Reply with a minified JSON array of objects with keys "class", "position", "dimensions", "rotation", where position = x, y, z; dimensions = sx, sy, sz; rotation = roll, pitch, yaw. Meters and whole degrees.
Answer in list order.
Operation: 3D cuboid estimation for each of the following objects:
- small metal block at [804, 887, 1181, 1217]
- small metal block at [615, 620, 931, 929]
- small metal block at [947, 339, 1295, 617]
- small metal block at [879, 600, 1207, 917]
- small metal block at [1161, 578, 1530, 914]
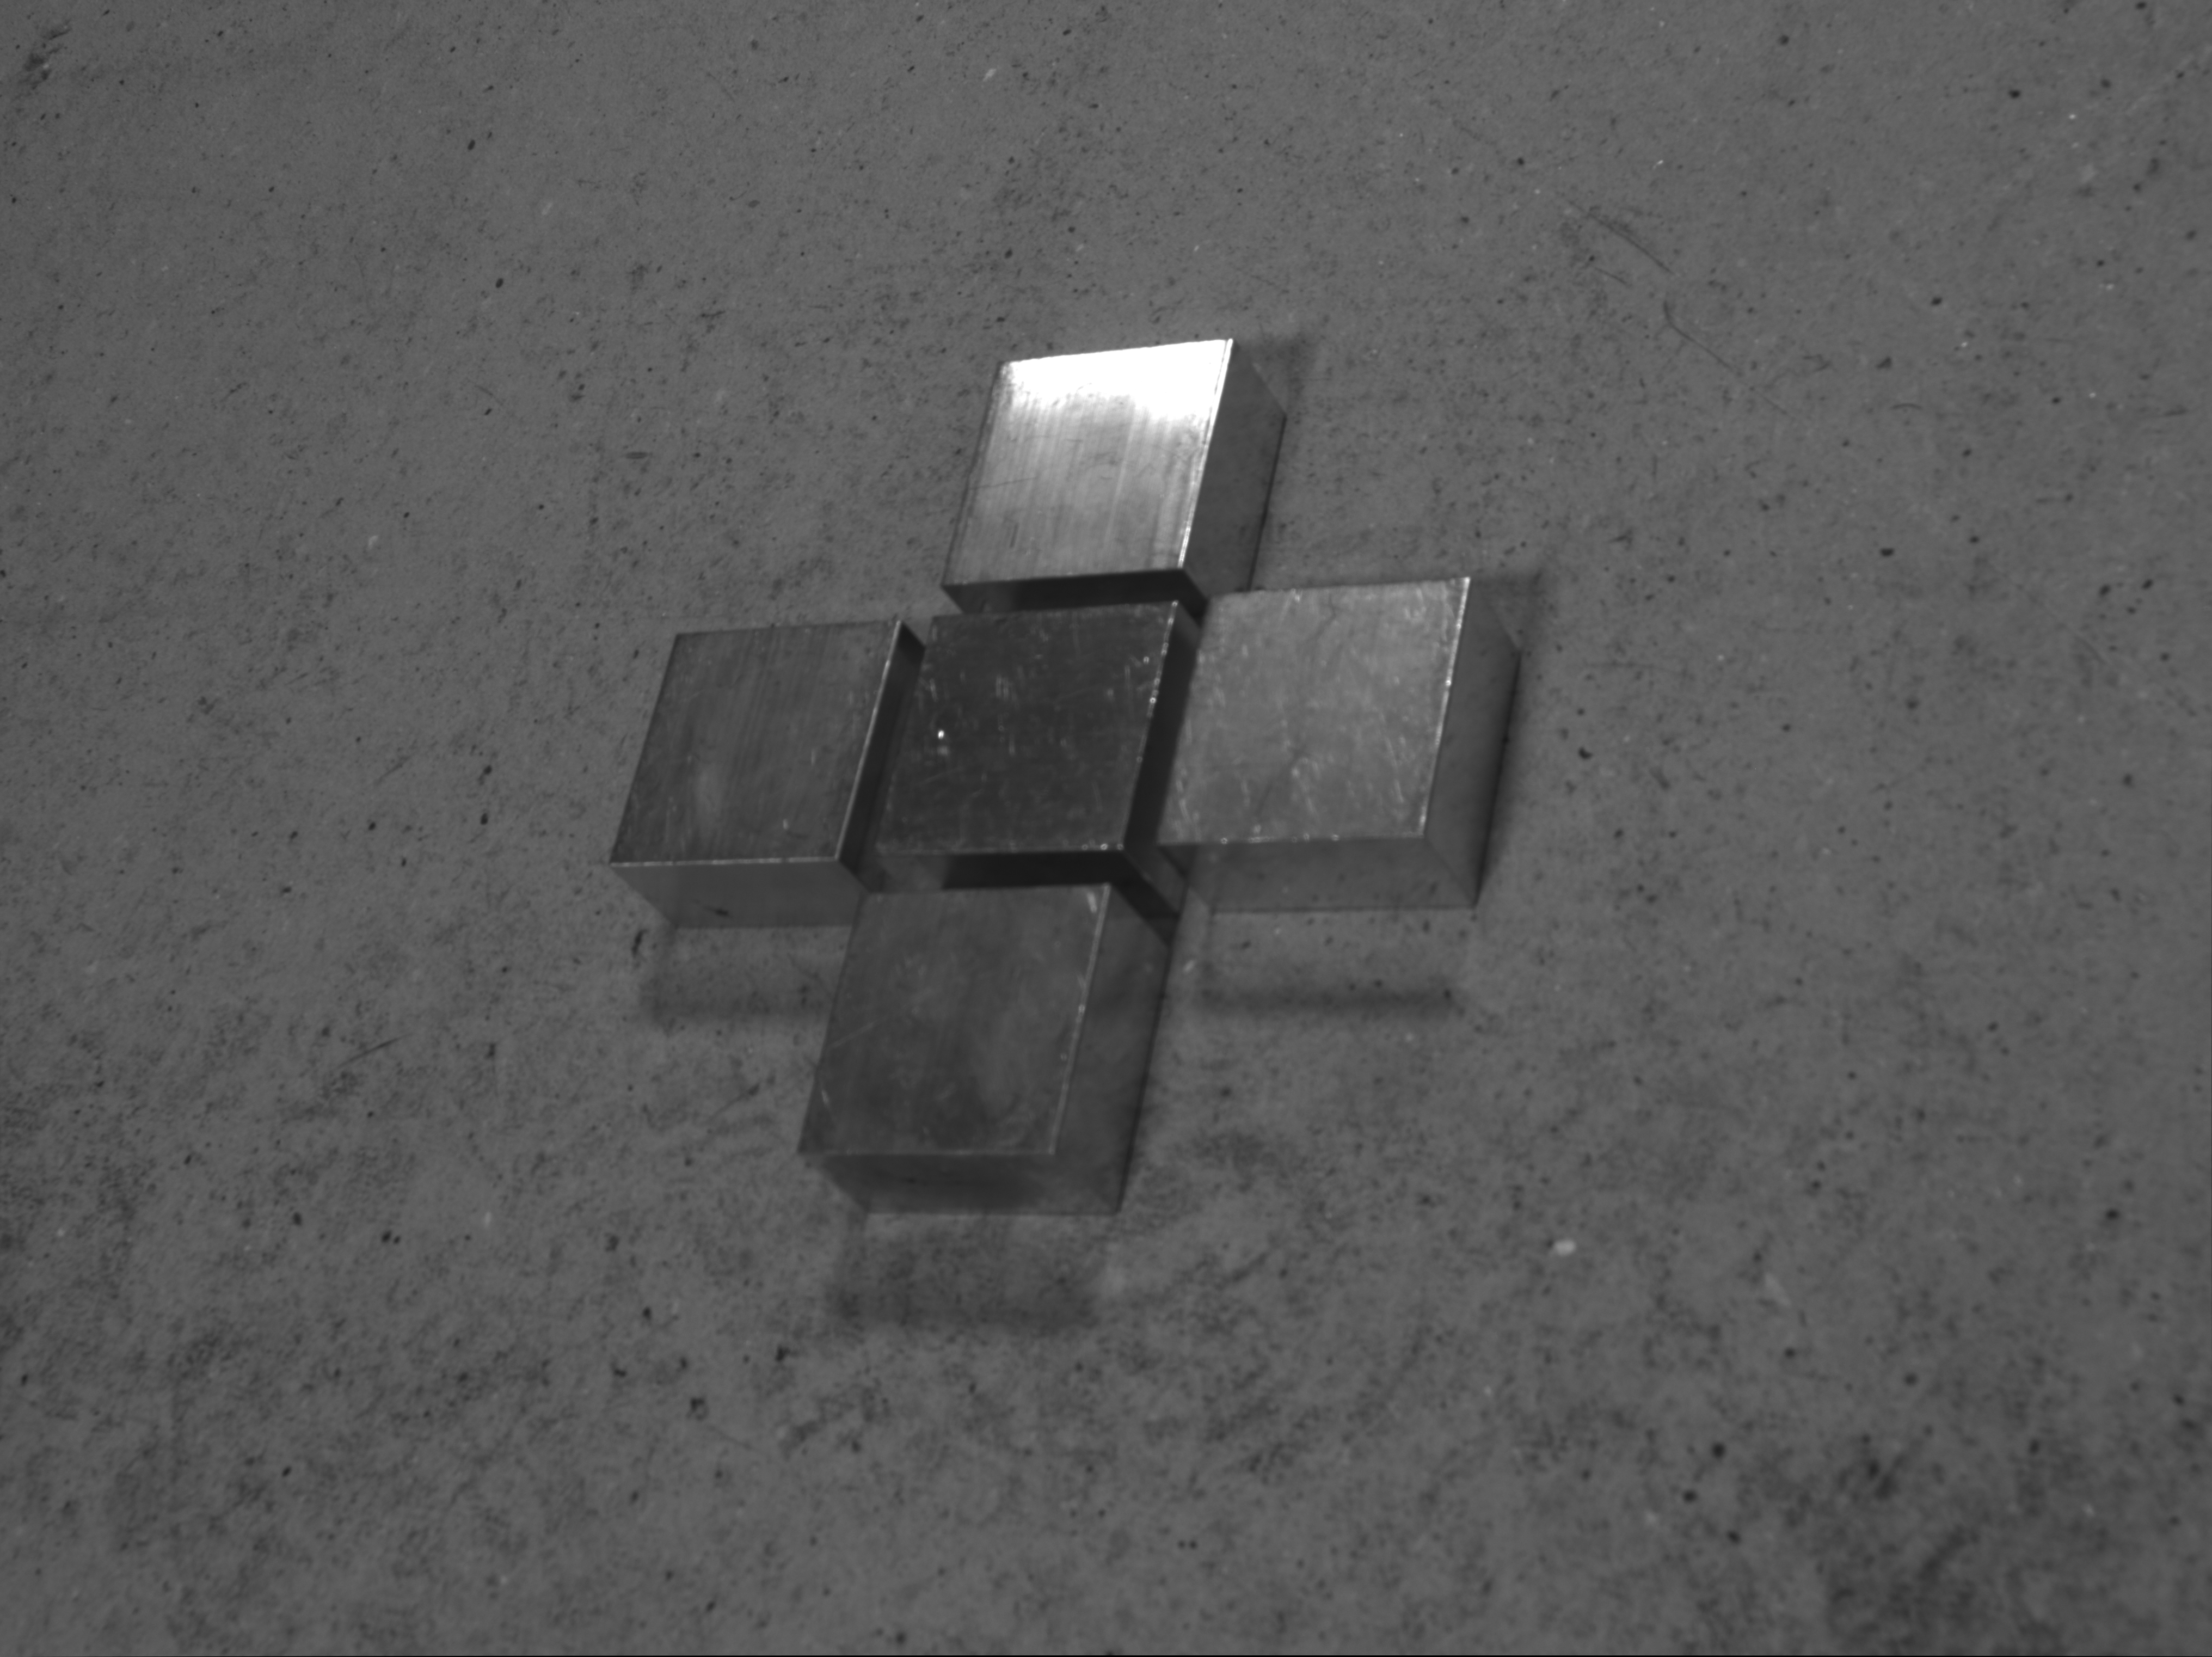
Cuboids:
[{"class":"small metal block","position":[-0.019,0.039,0.631],"dimensions":[0.050,0.025,0.050],"rotation":[-2,60,27]},{"class":"small metal block","position":[-0.058,-0.010,0.682],"dimensions":[0.050,0.025,0.050],"rotation":[-2,61,27]},{"class":"small metal block","position":[0.003,-0.061,0.681],"dimensions":[0.050,0.025,0.050],"rotation":[-2,61,27]},{"class":"small metal block","position":[-0.008,-0.012,0.656],"dimensions":[0.050,0.025,0.050],"rotation":[-2,61,27]},{"class":"small metal block","position":[0.042,-0.014,0.631],"dimensions":[0.050,0.025,0.050],"rotation":[-2,61,27]}]
